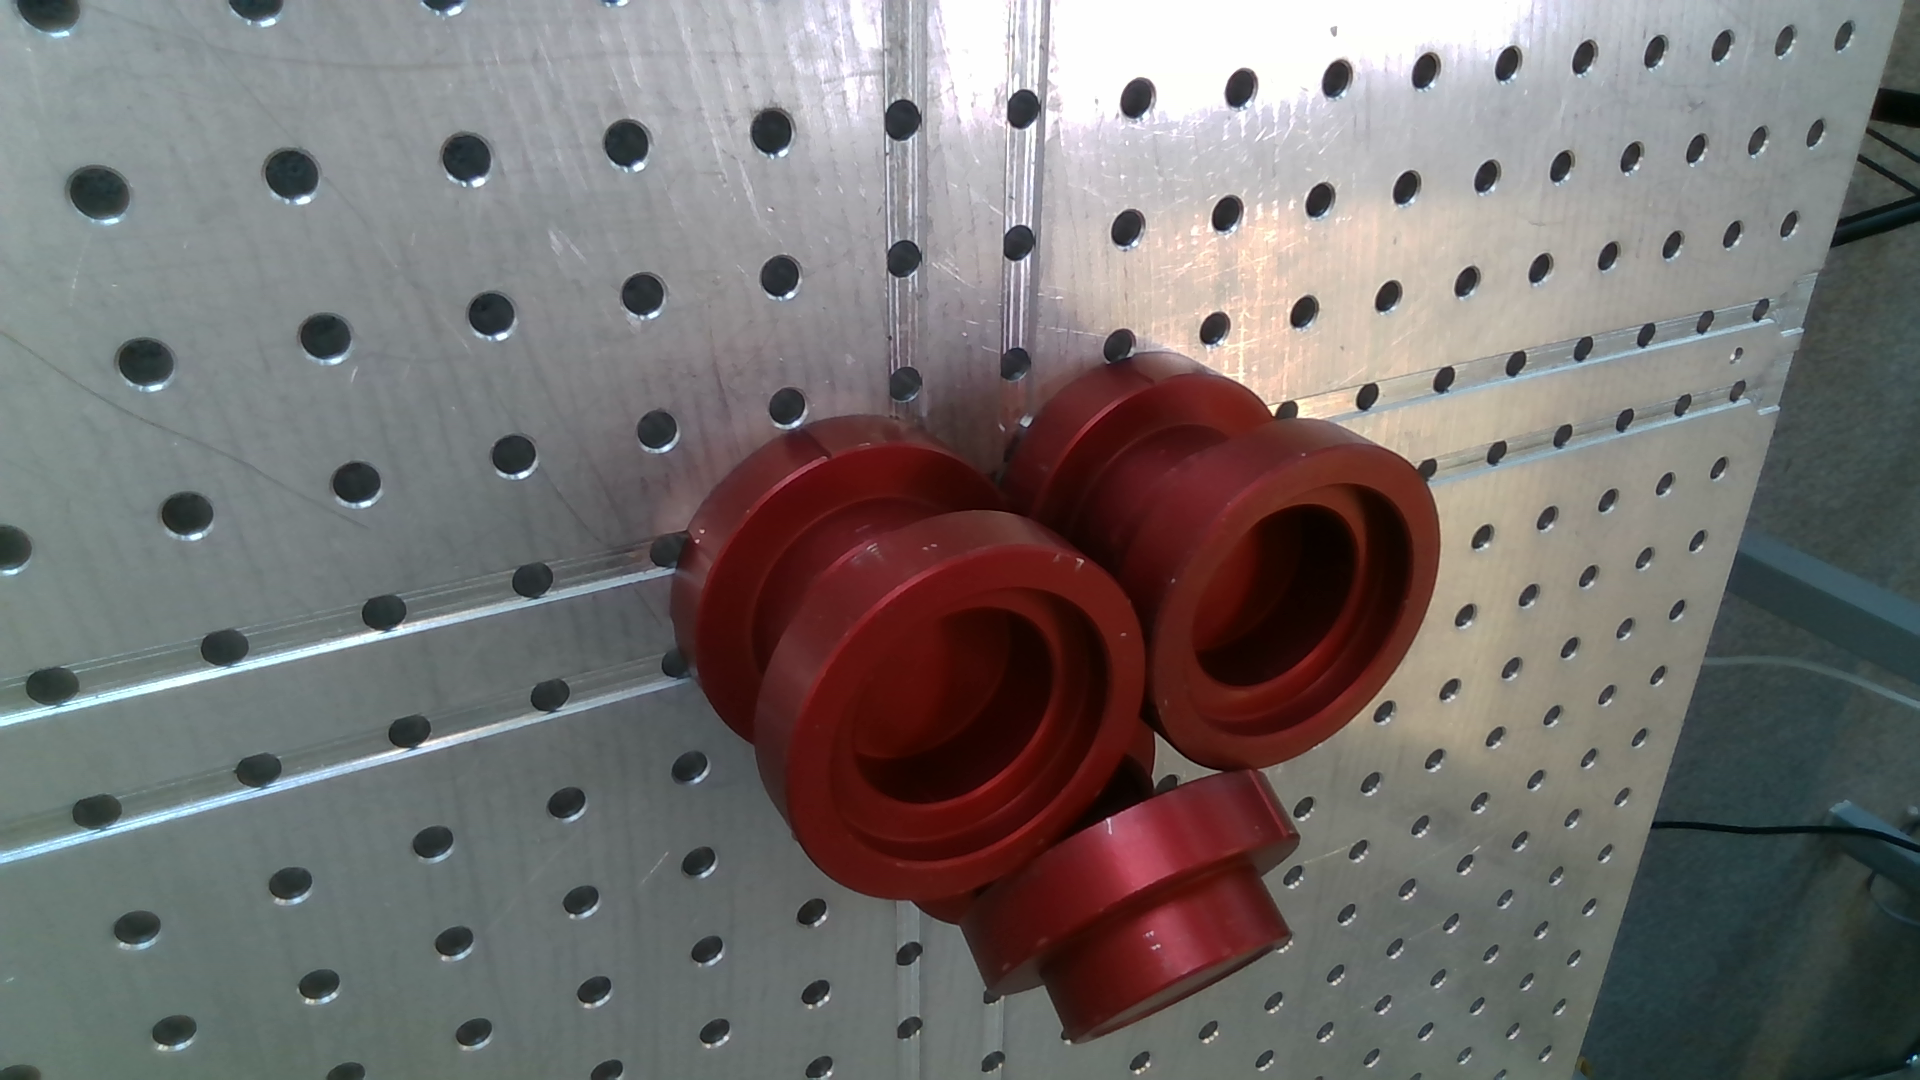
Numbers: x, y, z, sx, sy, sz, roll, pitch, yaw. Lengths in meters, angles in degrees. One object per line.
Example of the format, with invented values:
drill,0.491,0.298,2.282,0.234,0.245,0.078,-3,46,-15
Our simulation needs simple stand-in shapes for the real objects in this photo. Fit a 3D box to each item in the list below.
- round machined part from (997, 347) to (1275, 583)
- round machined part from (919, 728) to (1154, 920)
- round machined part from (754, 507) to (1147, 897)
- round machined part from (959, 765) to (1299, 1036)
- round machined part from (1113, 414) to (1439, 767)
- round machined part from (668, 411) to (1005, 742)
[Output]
round machined part,0.061,-0.006,0.417,0.098,0.042,0.098,-14,122,-25
round machined part,0.023,0.083,0.440,0.098,0.042,0.098,-14,122,-25
round machined part,-0.005,0.036,0.342,0.098,0.042,0.098,-14,122,-25
round machined part,0.053,0.106,0.389,0.098,0.042,0.098,-22,156,-10
round machined part,0.081,0.011,0.382,0.098,0.042,0.098,-14,122,-25
round machined part,-0.026,0.018,0.375,0.098,0.042,0.098,-14,122,-25
